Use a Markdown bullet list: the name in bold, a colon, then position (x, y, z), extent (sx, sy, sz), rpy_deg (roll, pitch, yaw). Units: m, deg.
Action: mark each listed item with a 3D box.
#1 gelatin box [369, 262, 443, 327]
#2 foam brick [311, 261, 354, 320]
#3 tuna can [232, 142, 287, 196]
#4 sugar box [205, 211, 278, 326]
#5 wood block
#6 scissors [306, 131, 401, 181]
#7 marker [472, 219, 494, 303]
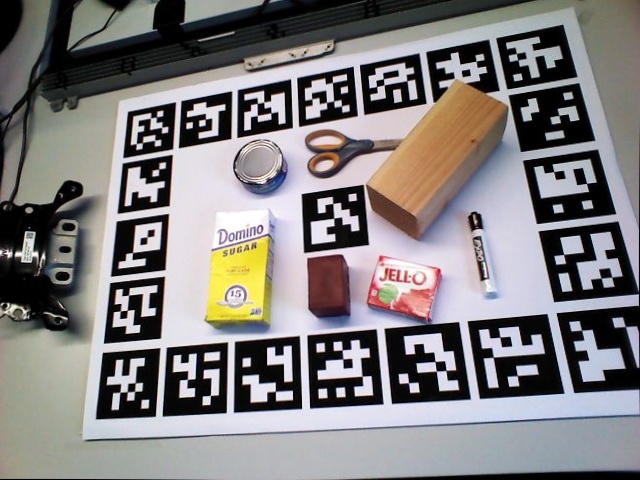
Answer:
- **gelatin box**: position (0.123, 0.077, 0.735), extent (0.090, 0.030, 0.073), rpy_deg (12, 76, 19)
- **foam brick**: position (0.018, 0.075, 0.748), extent (0.053, 0.051, 0.077), rpy_deg (-5, 71, 13)
- **tuna can**: position (-0.099, -0.116, 0.856), extent (0.086, 0.034, 0.085), rpy_deg (-5, 71, 13)
- **sugar box**: position (-0.119, 0.045, 0.803), extent (0.093, 0.045, 0.175), rpy_deg (-2, 71, 13)
- **wood block**: position (0.181, -0.104, 0.753), extent (0.090, 0.091, 0.206), rpy_deg (39, 84, 24)
- **scissors**: position (0.073, -0.139, 0.831), extent (0.204, 0.016, 0.087), rpy_deg (0, 72, 17)
- **marker**: position (0.229, 0.028, 0.728), extent (0.020, 0.019, 0.120), rpy_deg (-5, 72, 13)
